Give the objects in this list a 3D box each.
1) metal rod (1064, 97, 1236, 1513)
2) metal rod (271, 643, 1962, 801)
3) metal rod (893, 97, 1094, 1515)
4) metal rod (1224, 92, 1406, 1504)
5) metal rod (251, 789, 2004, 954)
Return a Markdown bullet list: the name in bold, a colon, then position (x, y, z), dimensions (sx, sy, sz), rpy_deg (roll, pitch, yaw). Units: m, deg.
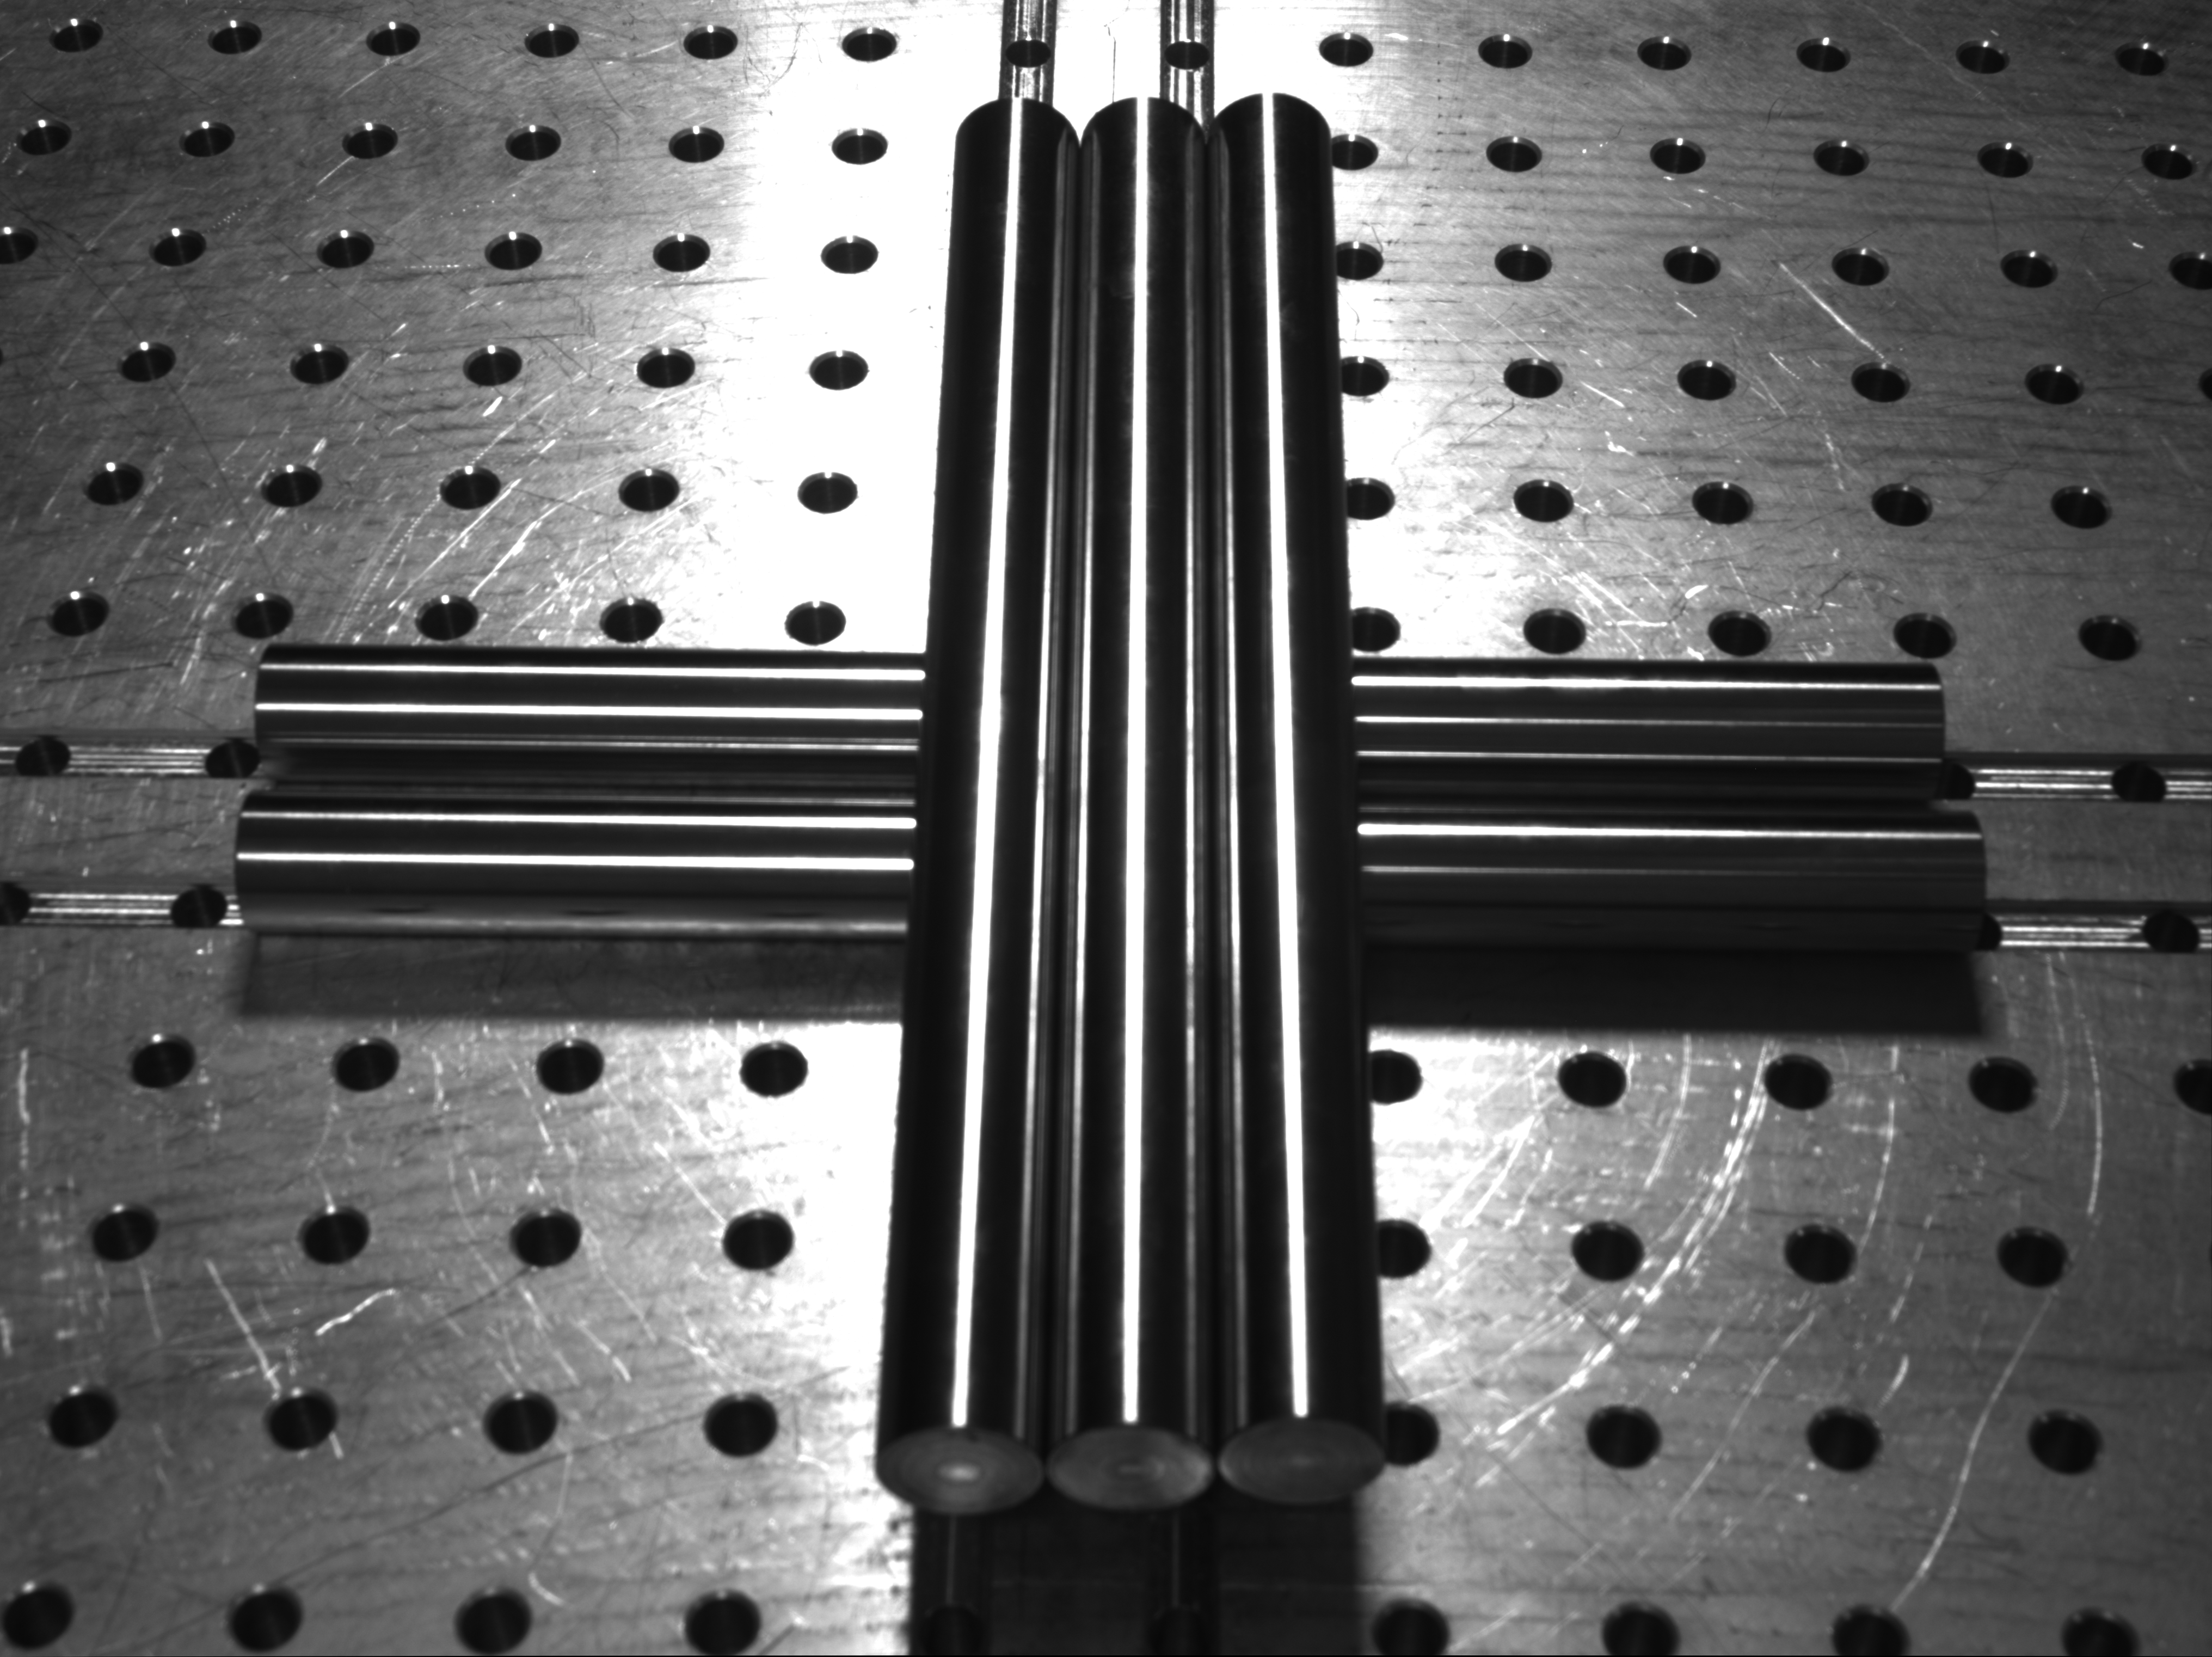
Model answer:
- **metal rod**: position (0.009, -0.021, 0.631), dimensions (0.025, 0.025, 0.300), rpy_deg (1, 50, 1)
- **metal rod**: position (0.002, -0.019, 0.662), dimensions (0.300, 0.025, 0.025), rpy_deg (1, 50, 1)
- **metal rod**: position (-0.016, -0.021, 0.630), dimensions (0.025, 0.025, 0.300), rpy_deg (1, 50, 1)
- **metal rod**: position (0.034, -0.022, 0.632), dimensions (0.025, 0.025, 0.300), rpy_deg (1, 50, 1)
- **metal rod**: position (0.004, 0.007, 0.639), dimensions (0.300, 0.025, 0.025), rpy_deg (1, 50, 1)
